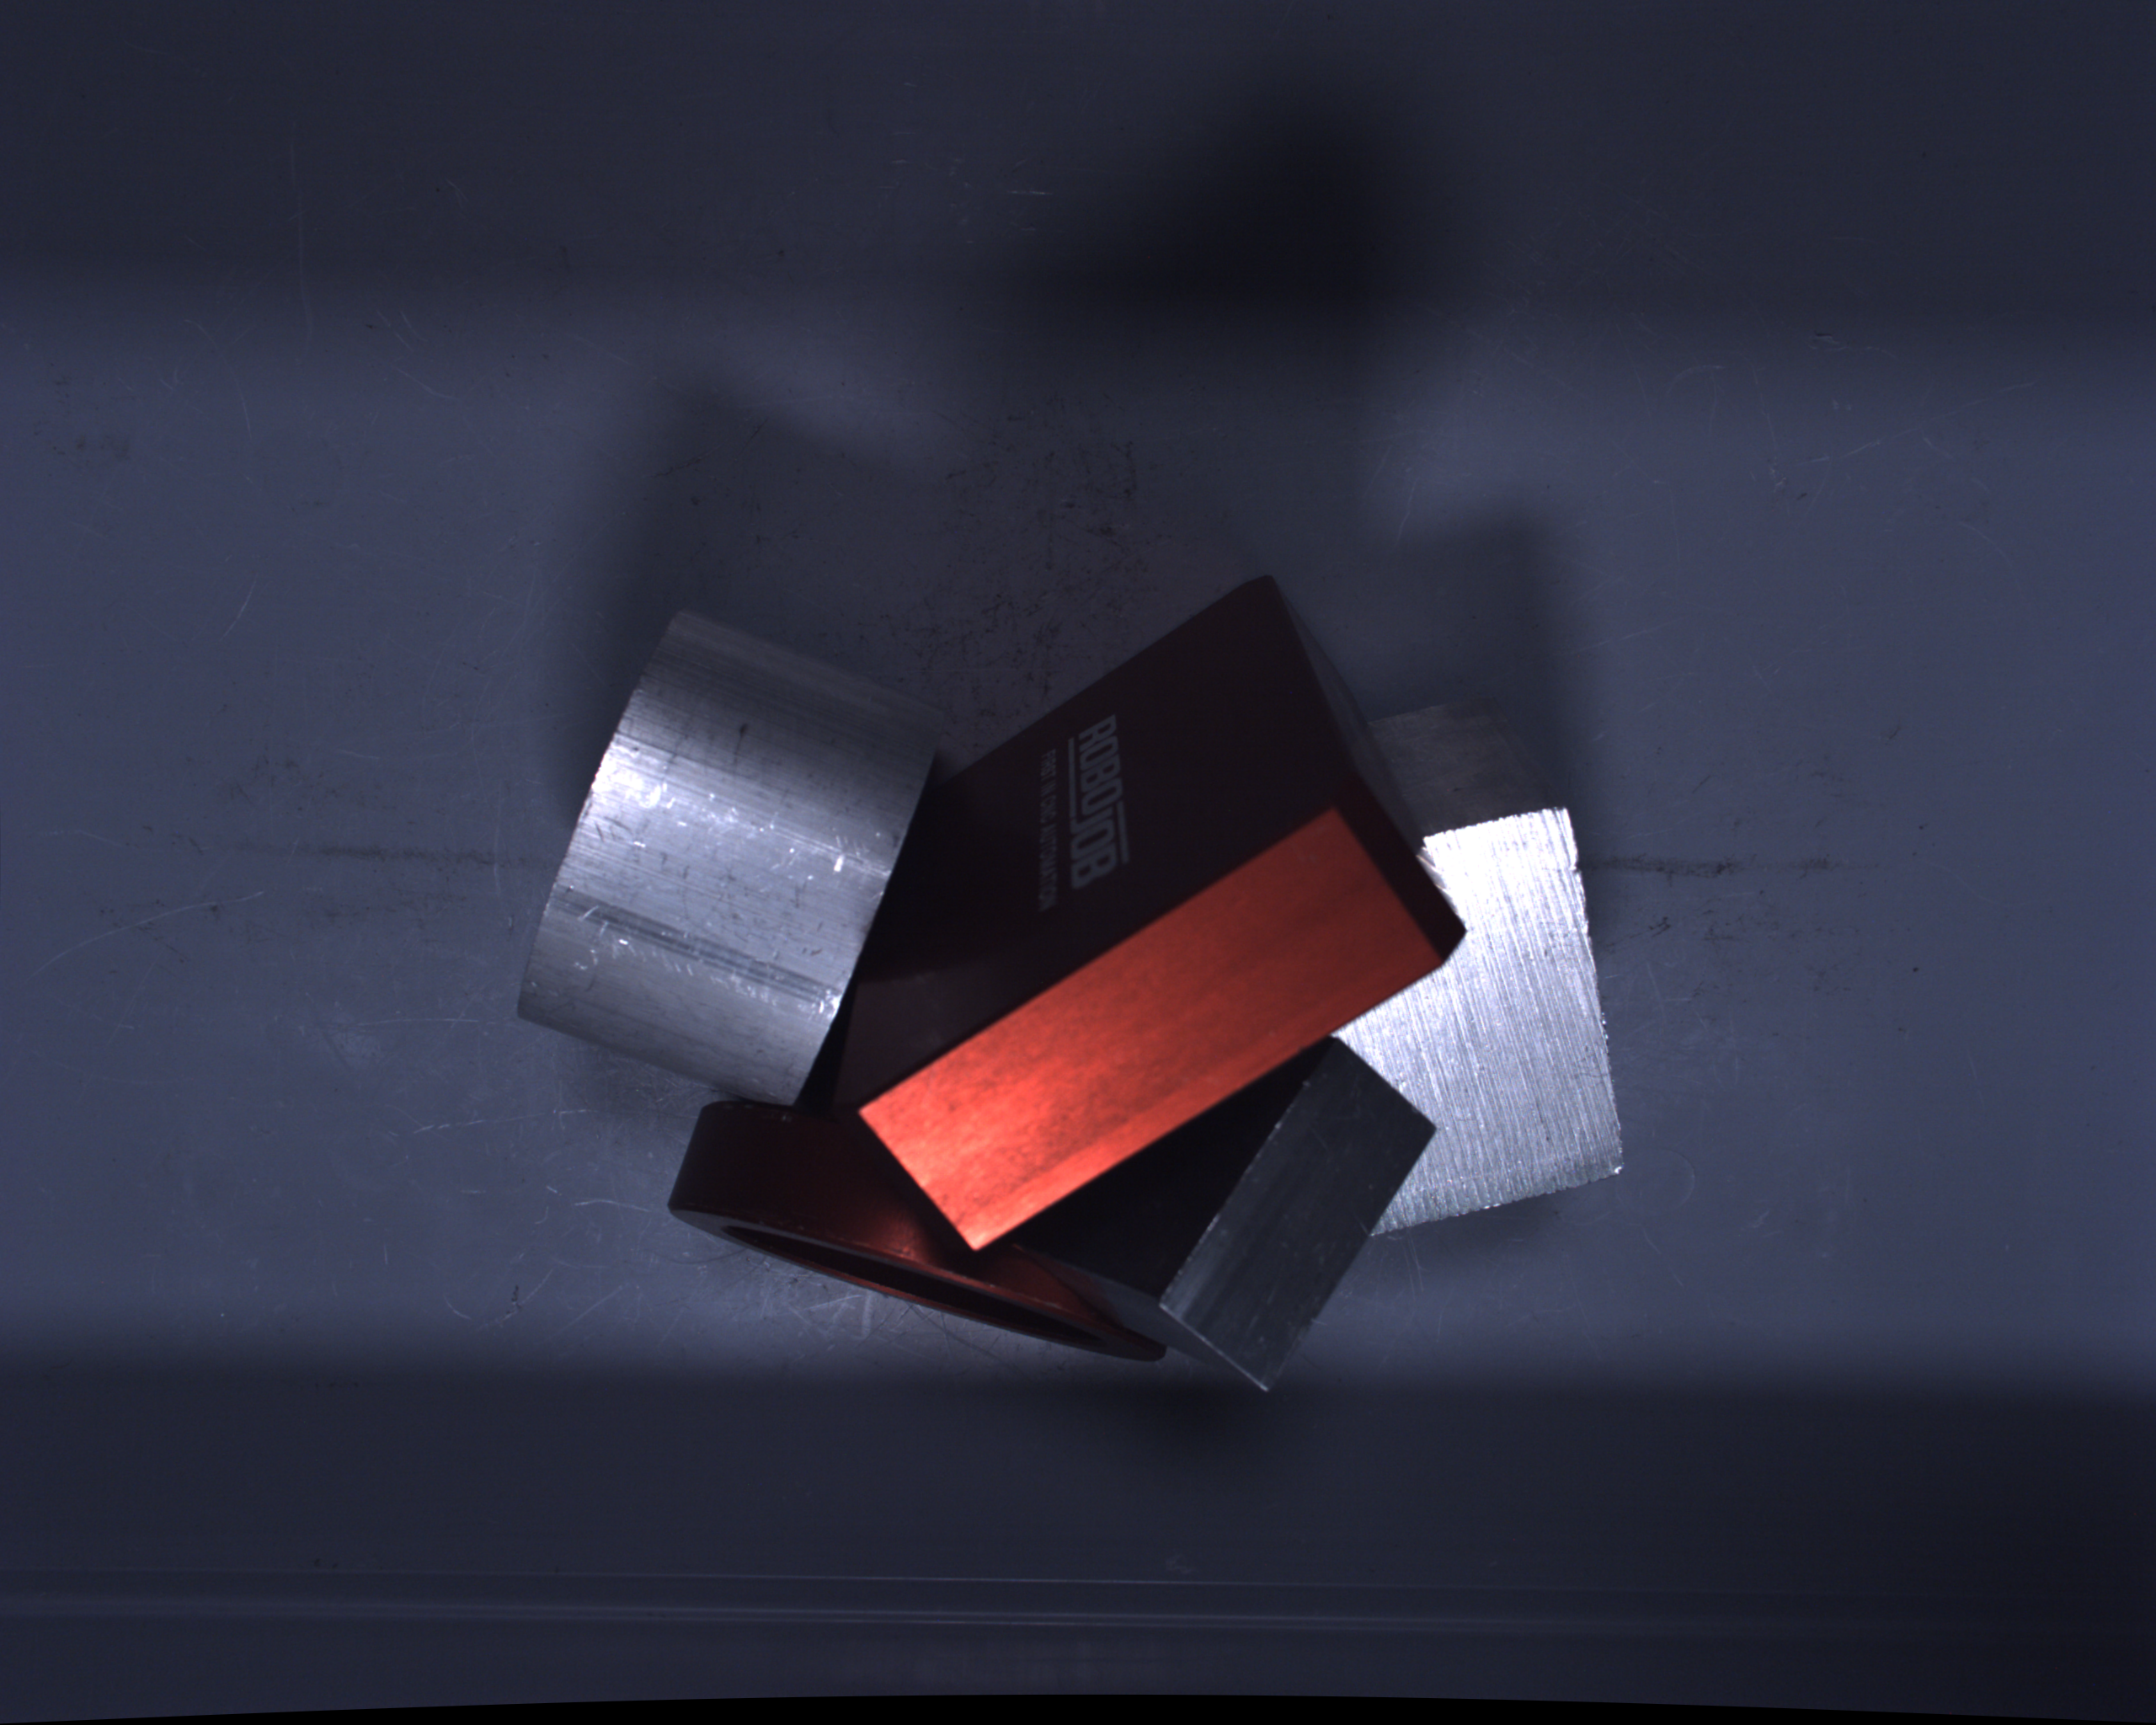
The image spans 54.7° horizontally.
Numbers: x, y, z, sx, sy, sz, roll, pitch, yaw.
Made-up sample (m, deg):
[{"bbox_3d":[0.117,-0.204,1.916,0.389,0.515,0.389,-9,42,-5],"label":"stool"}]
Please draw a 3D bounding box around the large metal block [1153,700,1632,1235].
[{"bbox_3d":[0.054,0.023,0.398,0.080,0.050,0.080,-13,114,4],"label":"large metal block"}]

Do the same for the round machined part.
[{"bbox_3d":[-0.025,0.062,0.403,0.099,0.098,0.042,19,74,-8],"label":"round machined part"}]

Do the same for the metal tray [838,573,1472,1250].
[{"bbox_3d":[0.009,0.001,0.354,0.090,0.130,0.030,-33,108,11],"label":"metal tray"}]

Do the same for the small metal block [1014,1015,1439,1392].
[{"bbox_3d":[0.023,0.053,0.344,0.025,0.050,0.050,43,73,-21],"label":"small metal block"}]

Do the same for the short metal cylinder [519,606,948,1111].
[{"bbox_3d":[-0.062,0.000,0.379,0.050,0.080,0.079,21,109,-8],"label":"short metal cylinder"}]
